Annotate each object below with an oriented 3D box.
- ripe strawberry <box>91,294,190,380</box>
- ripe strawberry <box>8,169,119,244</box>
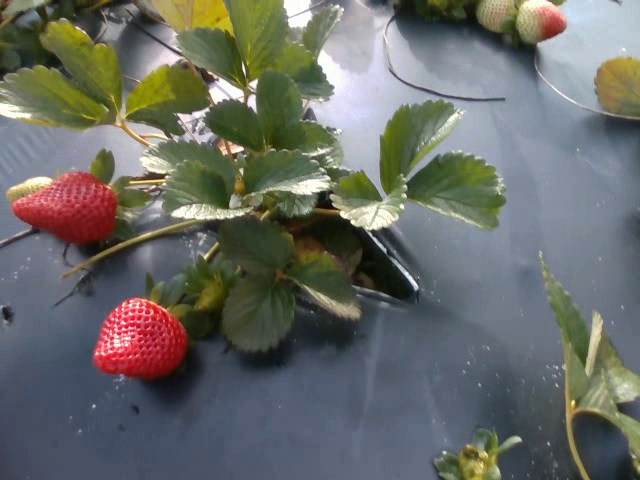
[{"bbox_3d":[-0.065,0.034,0.199,0.037,0.034,0.039,-38,-12,32],"label":"ripe strawberry"},{"bbox_3d":[-0.101,-0.014,0.233,0.036,0.041,0.035,-8,35,-39],"label":"ripe strawberry"}]
